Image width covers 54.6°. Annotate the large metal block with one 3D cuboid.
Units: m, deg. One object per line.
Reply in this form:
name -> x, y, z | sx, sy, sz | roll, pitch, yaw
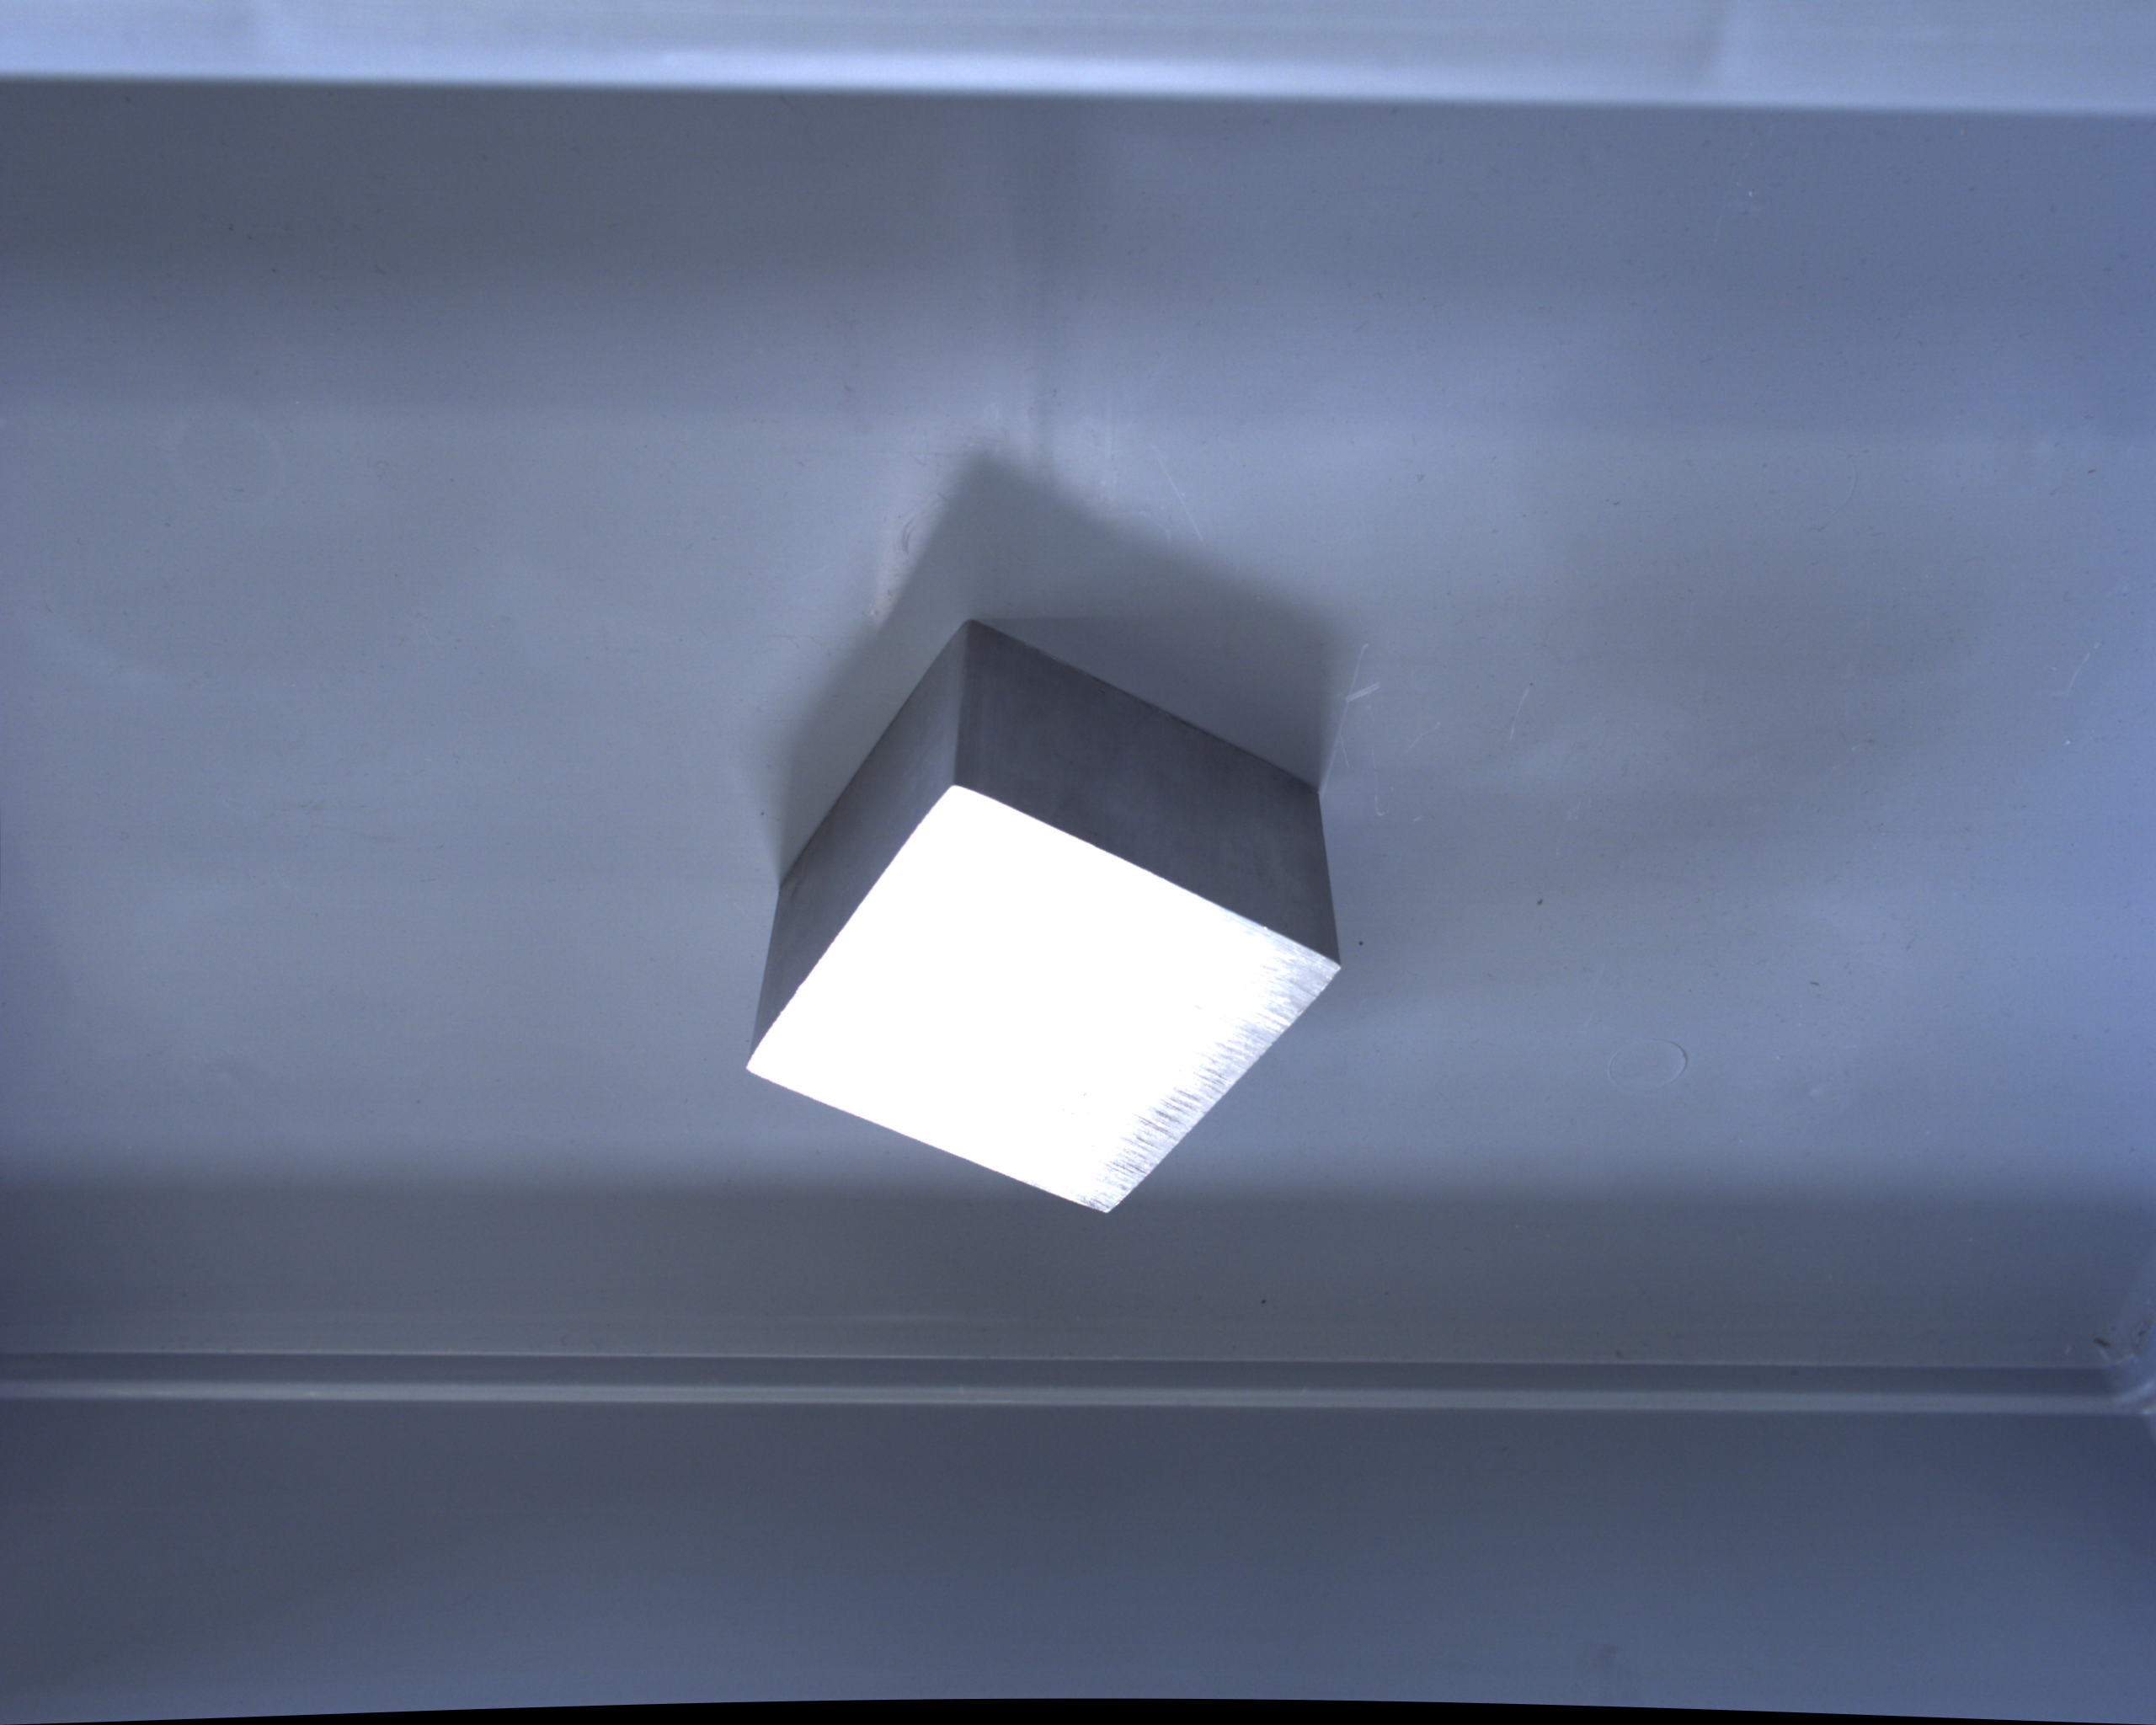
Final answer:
large metal block -> -0.008, 0.013, 0.399 | 0.080, 0.050, 0.080 | 25, 125, -20
